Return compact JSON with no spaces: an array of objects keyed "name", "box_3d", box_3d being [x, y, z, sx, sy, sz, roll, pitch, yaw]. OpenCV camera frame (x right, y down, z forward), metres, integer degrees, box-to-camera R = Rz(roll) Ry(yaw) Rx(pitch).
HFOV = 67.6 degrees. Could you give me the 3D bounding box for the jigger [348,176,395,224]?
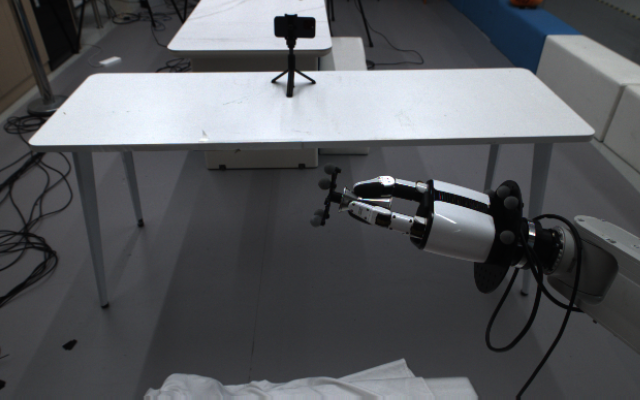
[{"name":"jigger","box_3d":[0.070,0.004,0.678,0.071,0.043,0.043,14,36,4]}]
